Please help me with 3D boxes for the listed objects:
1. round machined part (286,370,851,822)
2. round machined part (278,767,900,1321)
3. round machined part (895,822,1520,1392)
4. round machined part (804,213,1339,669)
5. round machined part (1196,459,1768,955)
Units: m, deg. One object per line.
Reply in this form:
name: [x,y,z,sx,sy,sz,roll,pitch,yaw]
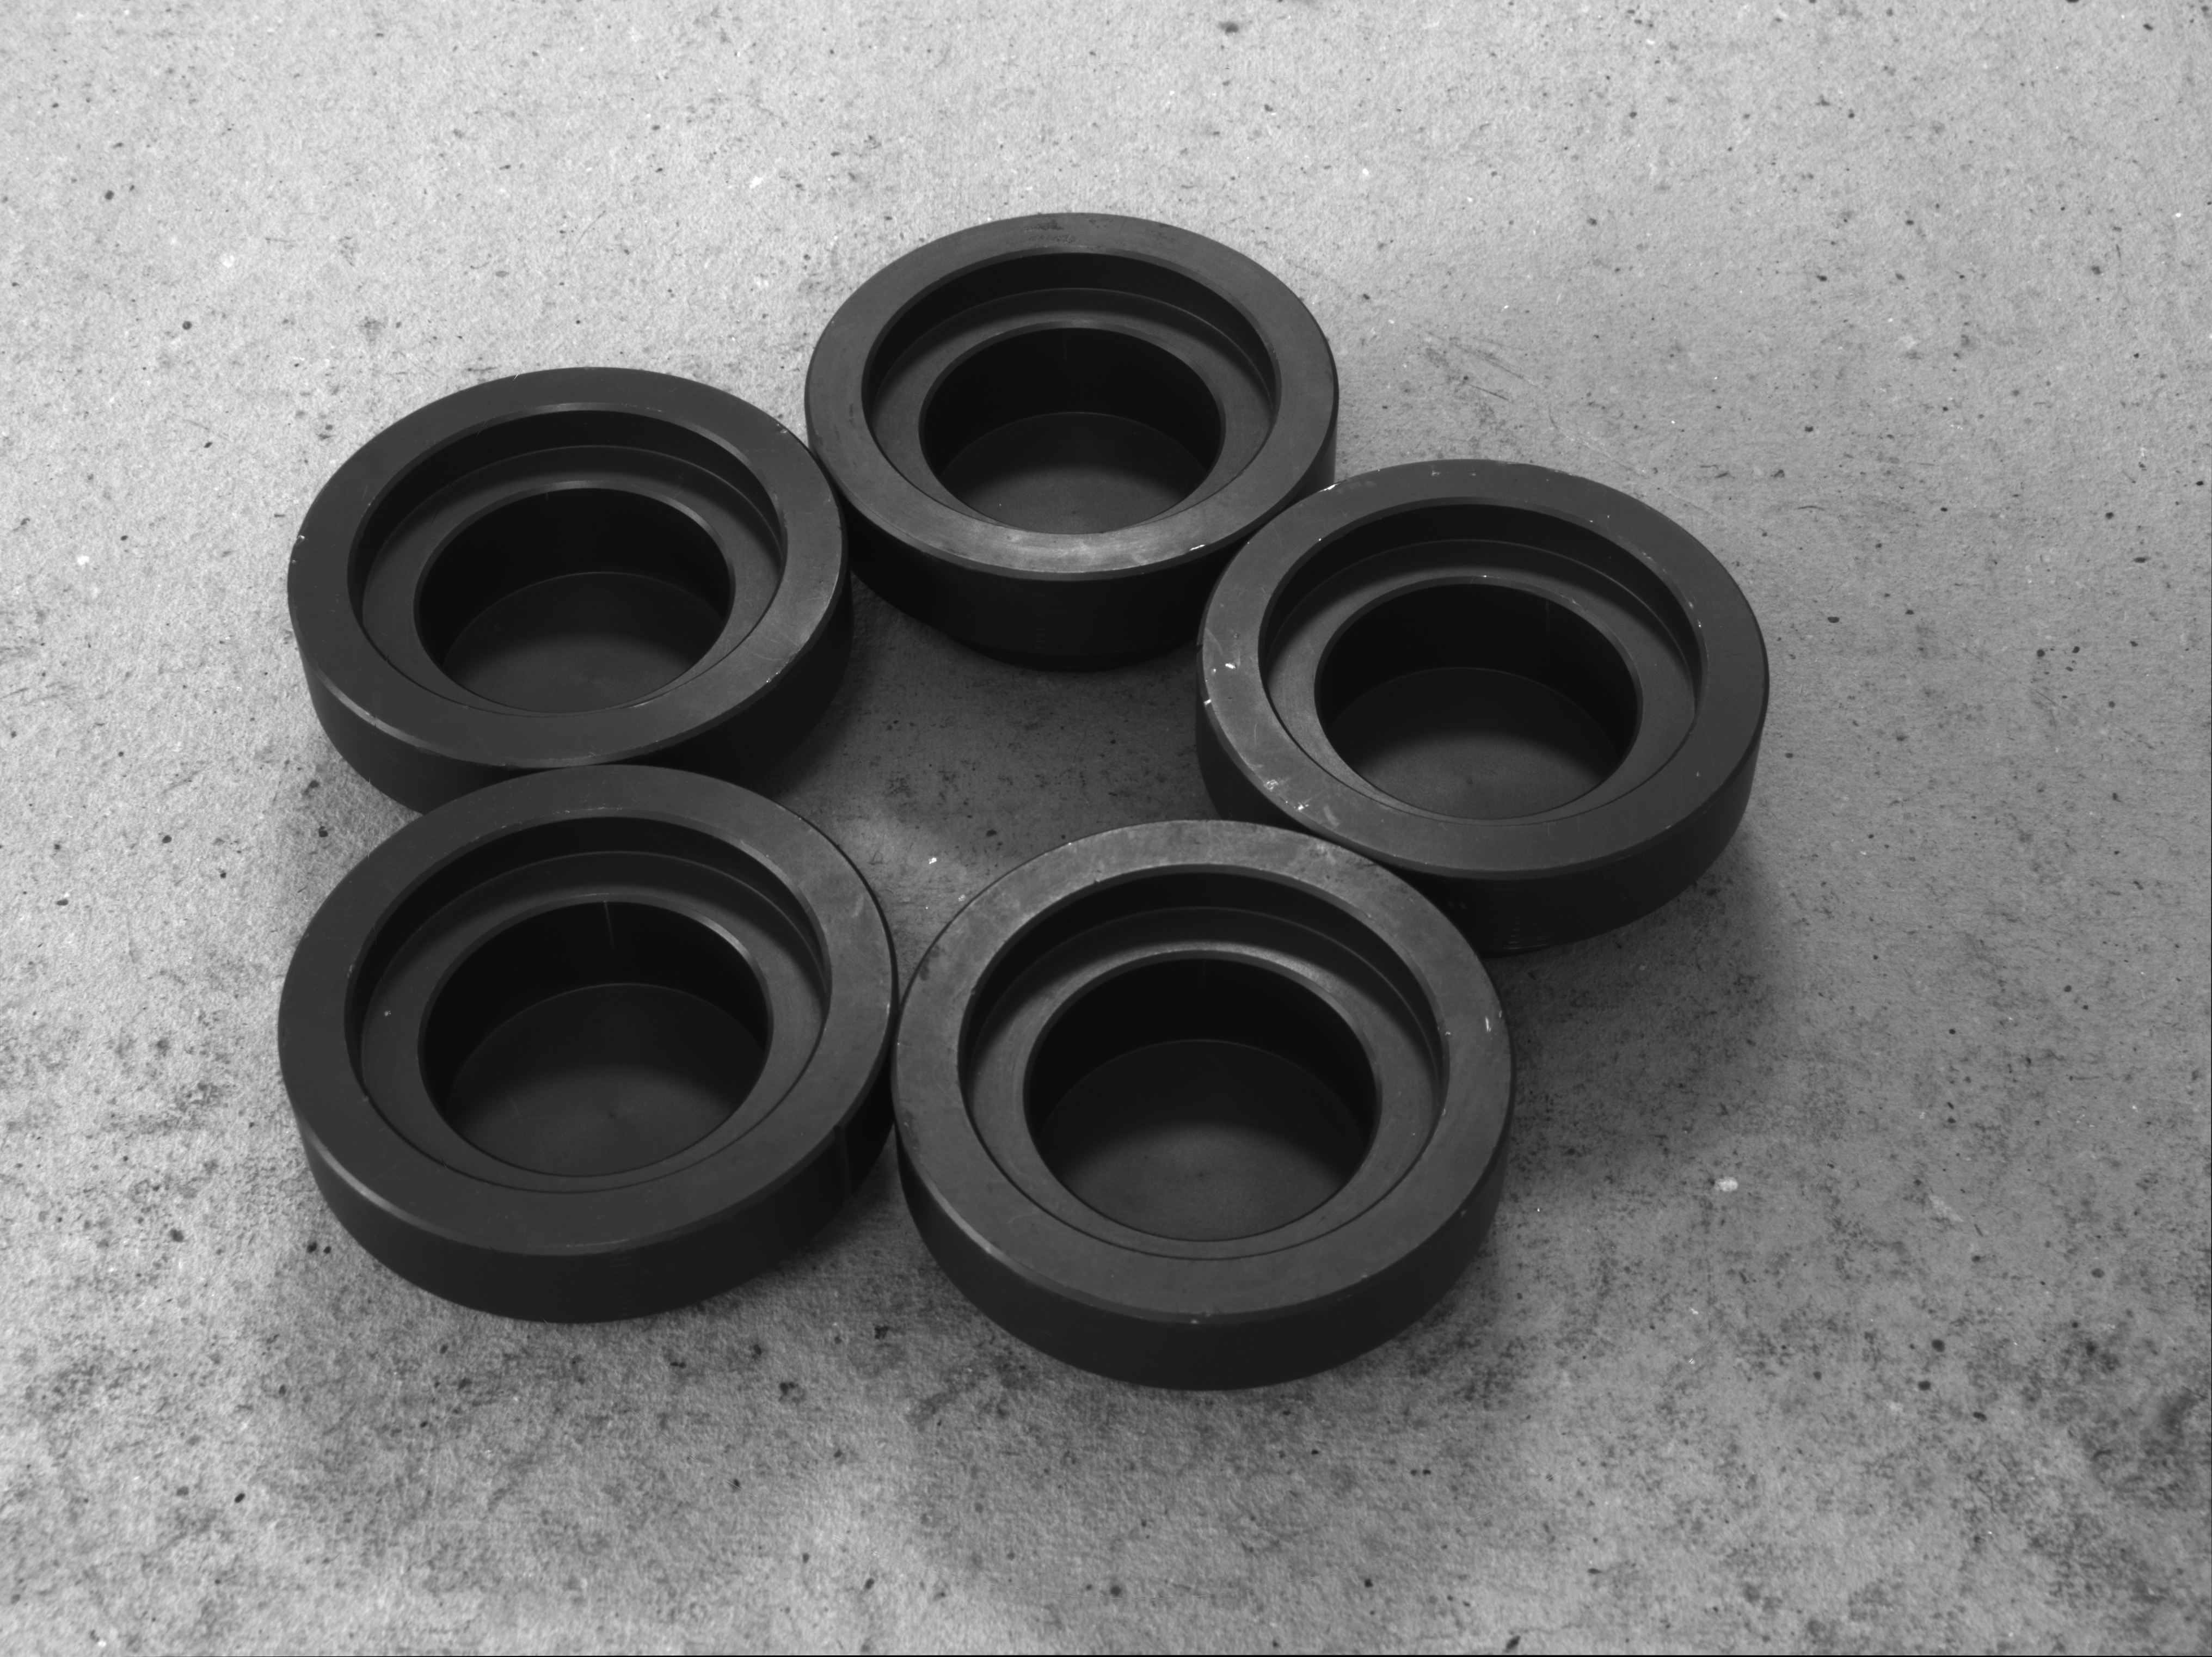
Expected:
round machined part: [-0.095,-0.035,0.660,0.098,0.042,0.098,0,48,0]
round machined part: [-0.082,0.040,0.597,0.098,0.042,0.098,1,48,-1]
round machined part: [0.016,0.049,0.590,0.098,0.042,0.098,1,49,-1]
round machined part: [-0.007,-0.068,0.687,0.098,0.042,0.098,1,48,-1]
round machined part: [0.064,-0.017,0.644,0.098,0.042,0.098,1,48,-1]
